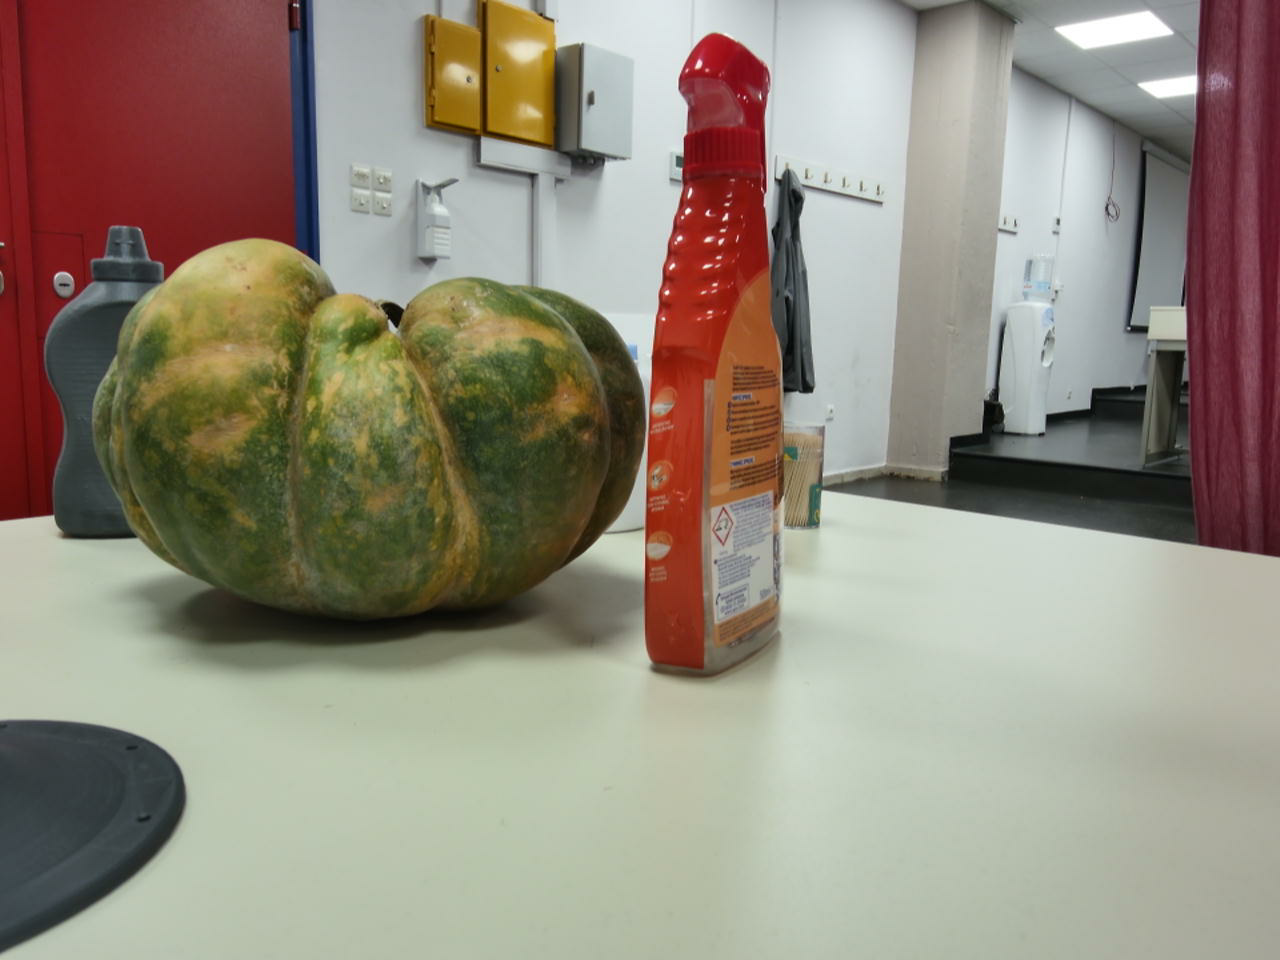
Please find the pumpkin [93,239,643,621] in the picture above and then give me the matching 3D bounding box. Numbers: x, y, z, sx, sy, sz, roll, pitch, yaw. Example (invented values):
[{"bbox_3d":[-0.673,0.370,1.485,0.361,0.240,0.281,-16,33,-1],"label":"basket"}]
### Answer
[{"bbox_3d":[-0.134,-0.024,0.501,0.270,0.173,0.237,-1,7,-12],"label":"pumpkin"}]
